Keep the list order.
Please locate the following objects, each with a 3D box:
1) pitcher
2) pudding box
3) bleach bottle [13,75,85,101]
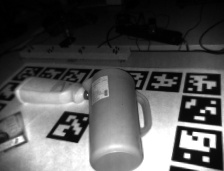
[{"bbox_3d":[0.009,0.080,0.543,0.191,0.133,0.241,14,40,-20],"label":"pitcher"},{"bbox_3d":[-0.304,0.123,0.622,0.090,0.039,0.112,-20,40,-17],"label":"pudding box"},{"bbox_3d":[-0.194,0.008,0.717,0.249,0.068,0.102,3,46,17],"label":"bleach bottle"}]
